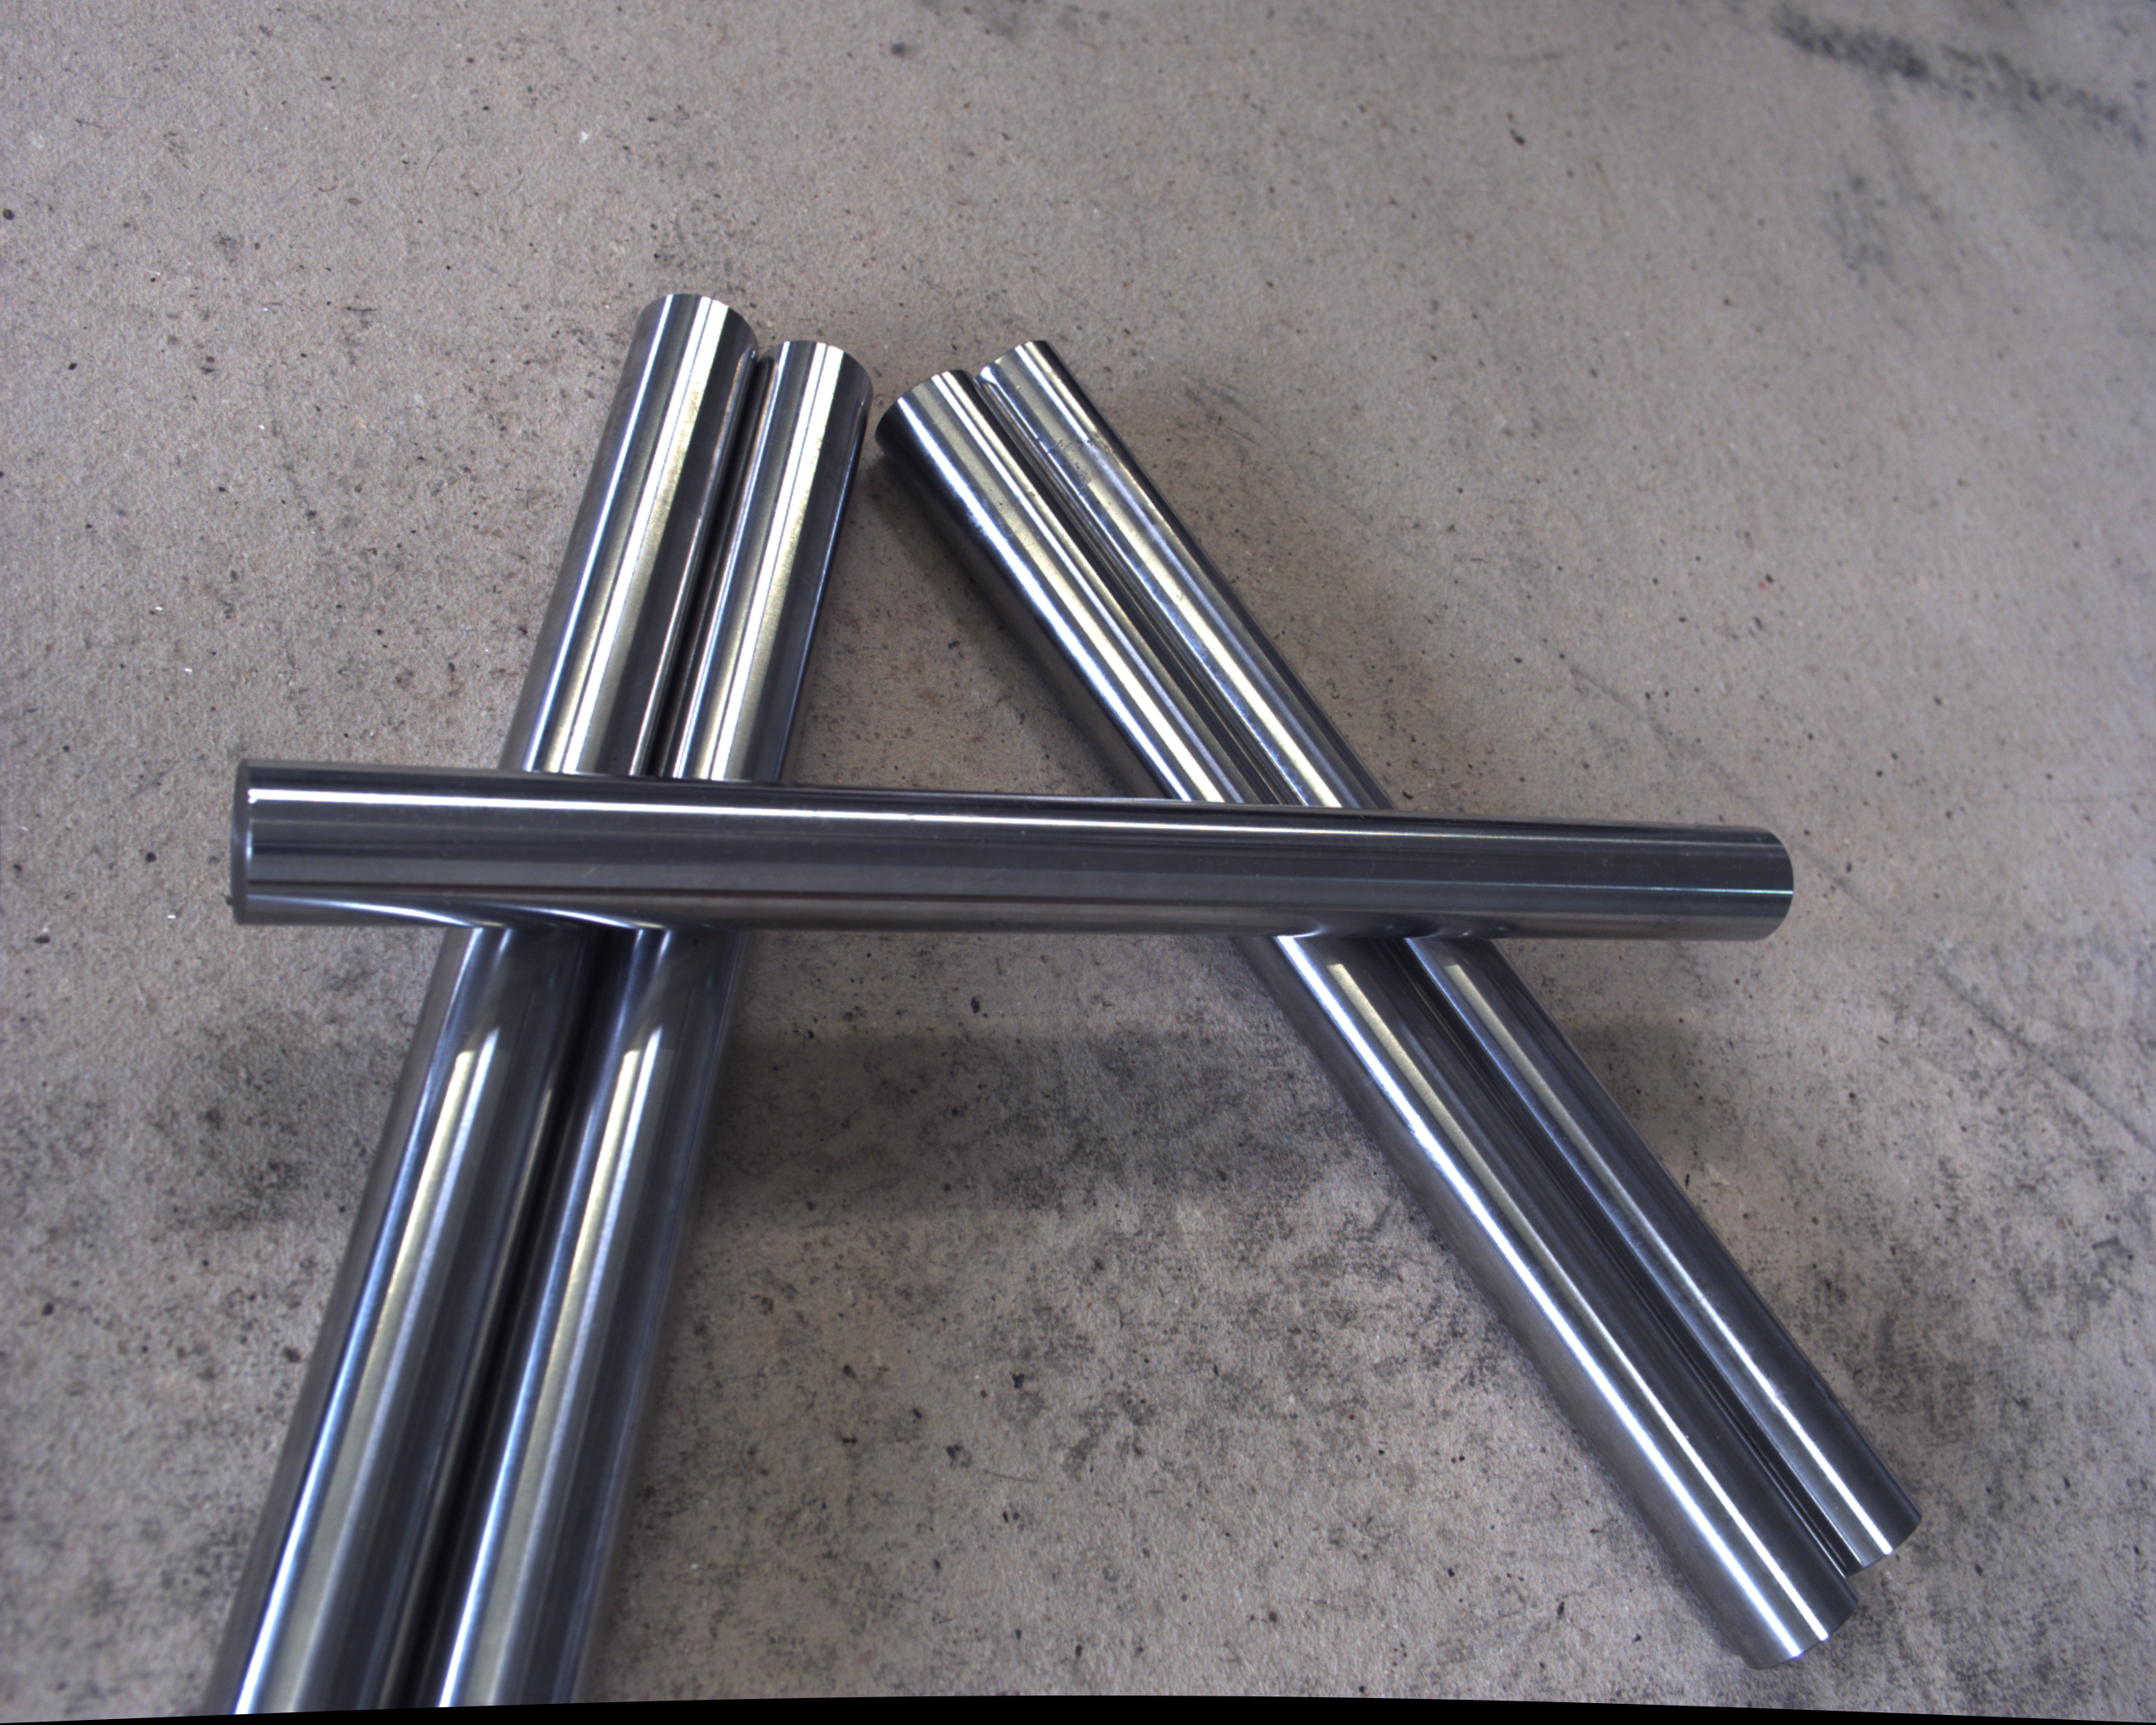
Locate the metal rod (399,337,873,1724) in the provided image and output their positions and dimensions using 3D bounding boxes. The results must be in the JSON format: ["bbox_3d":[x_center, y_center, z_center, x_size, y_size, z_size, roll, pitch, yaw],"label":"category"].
[{"bbox_3d":[-0.070,0.024,0.353,0.025,0.025,0.300,19,54,-18],"label":"metal rod"}]

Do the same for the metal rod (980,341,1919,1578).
[{"bbox_3d":[0.068,0.014,0.434,0.025,0.025,0.299,-27,76,-37],"label":"metal rod"}]

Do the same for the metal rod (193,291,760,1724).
[{"bbox_3d":[-0.093,0.016,0.345,0.025,0.025,0.300,19,54,-17],"label":"metal rod"}]

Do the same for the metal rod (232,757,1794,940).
[{"bbox_3d":[0.010,0.001,0.378,0.303,0.025,0.025,2,61,-28],"label":"metal rod"}]

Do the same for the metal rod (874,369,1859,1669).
[{"bbox_3d":[0.051,0.023,0.419,0.025,0.025,0.299,-27,76,-37],"label":"metal rod"}]
